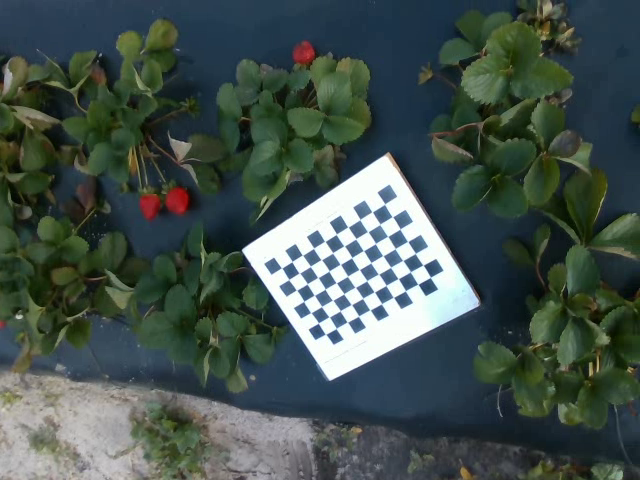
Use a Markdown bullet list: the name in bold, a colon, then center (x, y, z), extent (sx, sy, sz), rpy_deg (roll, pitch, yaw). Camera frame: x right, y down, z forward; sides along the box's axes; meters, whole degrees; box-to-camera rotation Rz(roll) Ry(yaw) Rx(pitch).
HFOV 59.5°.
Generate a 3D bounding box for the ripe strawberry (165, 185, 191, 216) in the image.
- **ripe strawberry**: center (-0.287, -0.073, 1.093), extent (0.051, 0.058, 0.064), rpy_deg (15, 29, -51)

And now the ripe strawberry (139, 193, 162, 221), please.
- **ripe strawberry**: center (-0.345, -0.066, 1.116), extent (0.048, 0.056, 0.041), rpy_deg (-16, -15, 17)
